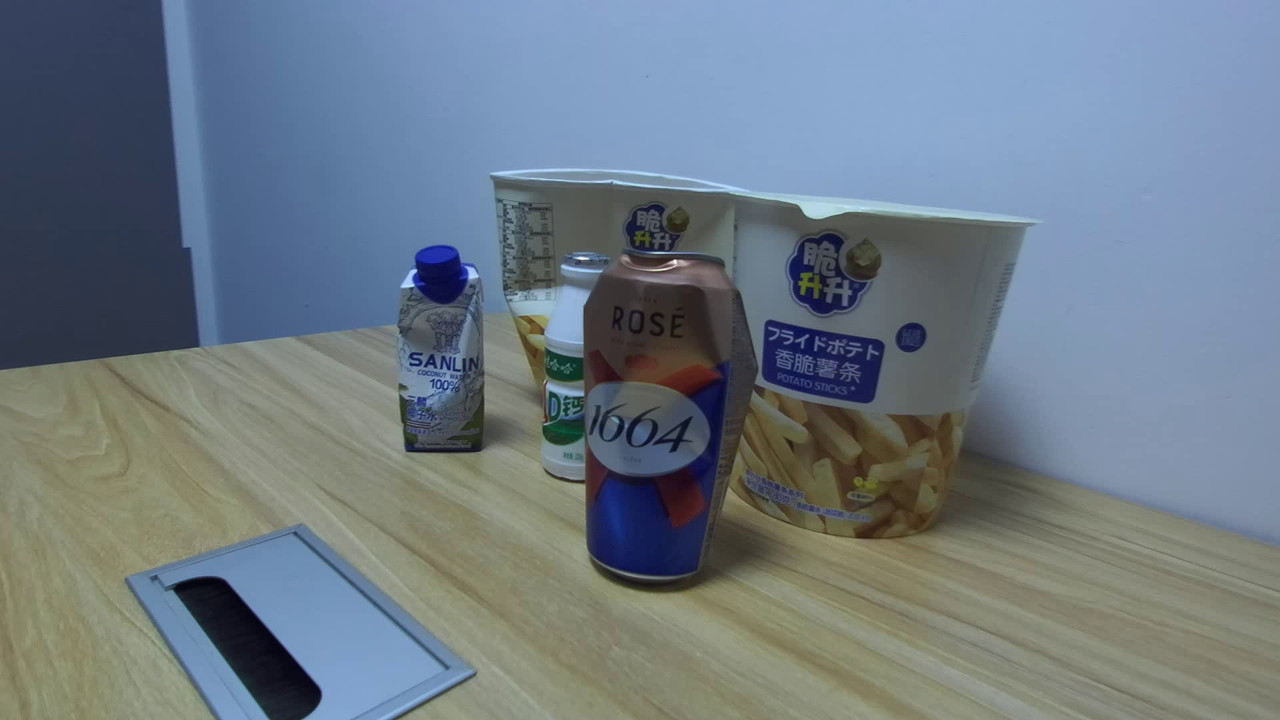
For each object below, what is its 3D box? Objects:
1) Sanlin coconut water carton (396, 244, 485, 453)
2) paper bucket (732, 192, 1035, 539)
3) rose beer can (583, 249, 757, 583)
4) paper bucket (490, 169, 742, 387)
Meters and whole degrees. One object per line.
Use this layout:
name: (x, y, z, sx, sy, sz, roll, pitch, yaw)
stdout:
Sanlin coconut water carton: (-0.141, -0.010, 0.502, 0.061, 0.143, 0.069, 1, 17, -9)
paper bucket: (0.140, -0.004, 0.468, 0.198, 0.194, 0.198, 4, 15, -1)
rose beer can: (0.010, 0.029, 0.364, 0.069, 0.168, 0.069, -2, 13, -31)
paper bucket: (-0.005, -0.054, 0.597, 0.219, 0.199, 0.147, -4, 17, -31)
